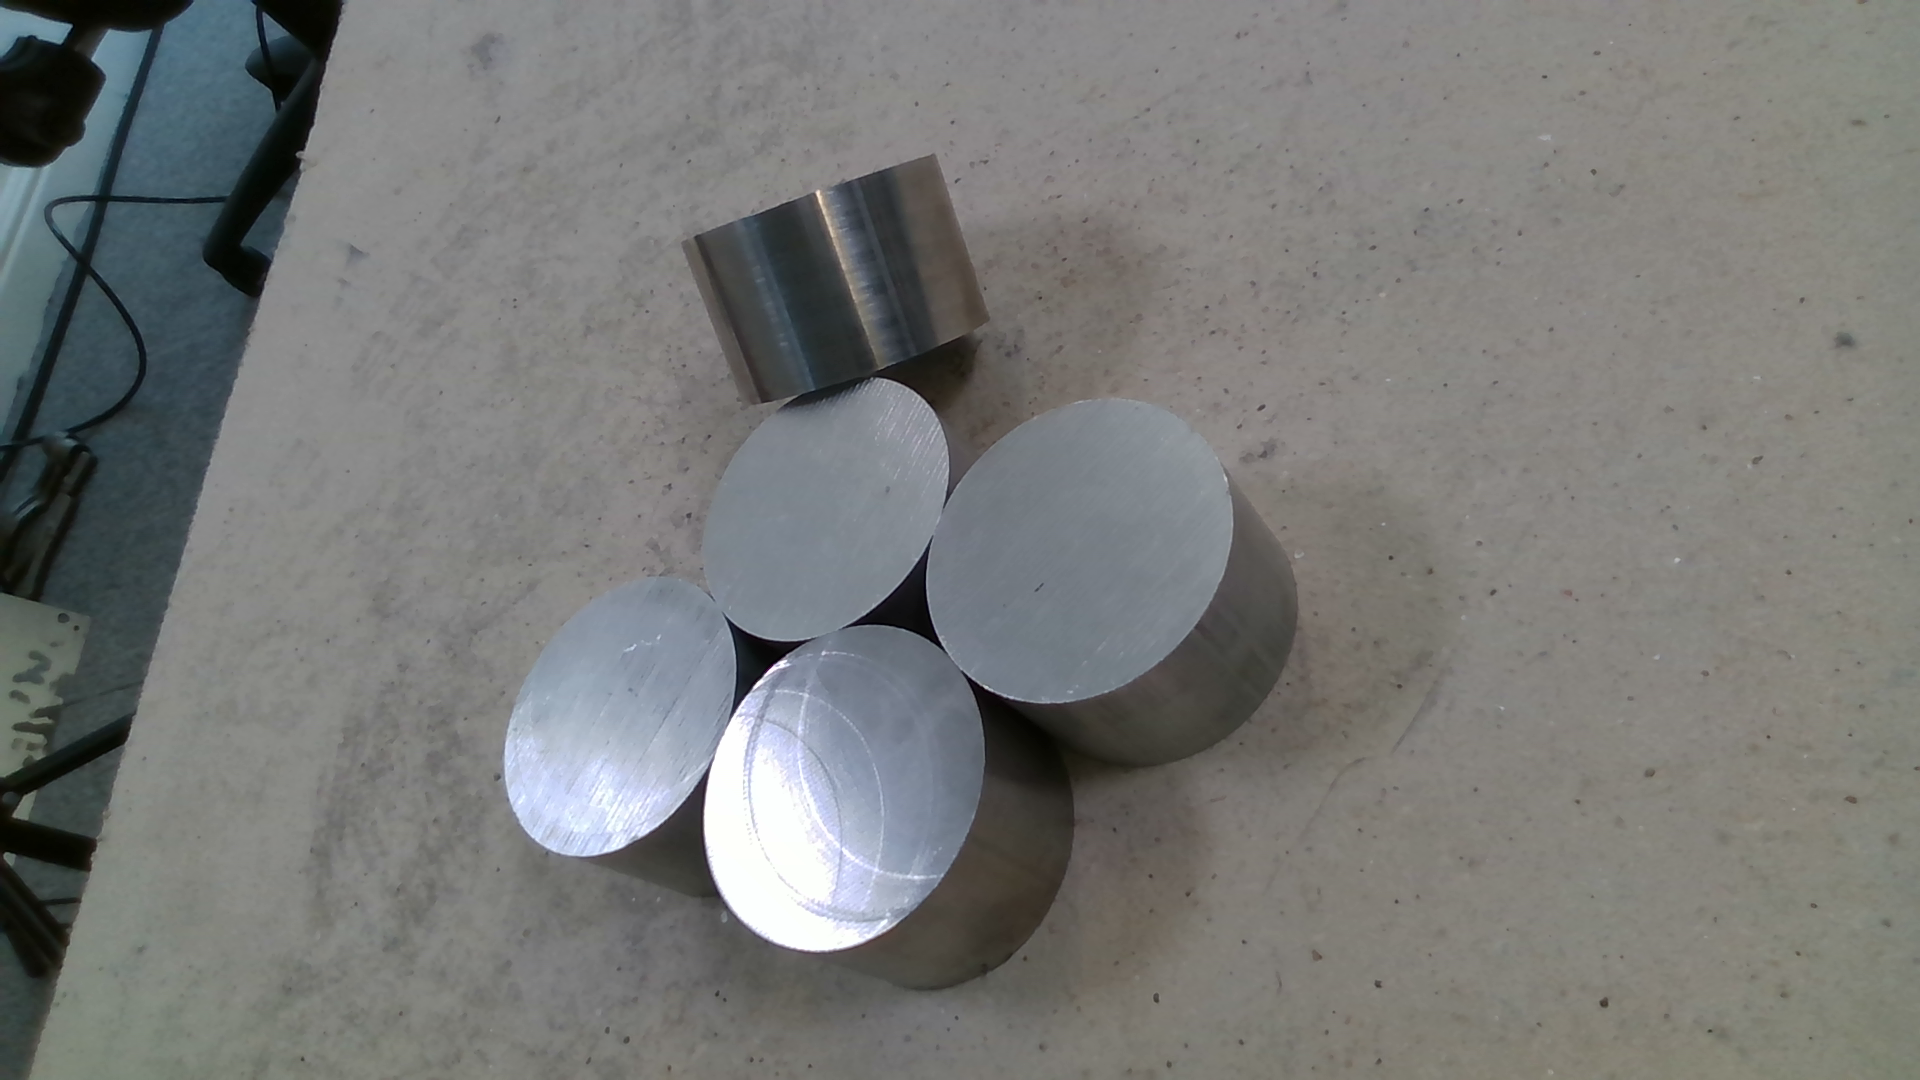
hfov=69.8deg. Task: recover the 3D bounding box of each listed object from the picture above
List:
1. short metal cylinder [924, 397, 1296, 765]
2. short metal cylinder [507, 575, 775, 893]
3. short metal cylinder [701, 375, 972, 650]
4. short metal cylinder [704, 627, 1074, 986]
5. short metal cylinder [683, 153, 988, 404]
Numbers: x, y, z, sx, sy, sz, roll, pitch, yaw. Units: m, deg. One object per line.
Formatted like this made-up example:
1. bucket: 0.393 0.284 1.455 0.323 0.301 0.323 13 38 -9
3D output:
1. short metal cylinder: 0.038 0.011 0.347 0.080 0.050 0.080 -14 59 25
2. short metal cylinder: -0.082 0.057 0.398 0.080 0.050 0.080 -14 59 25
3. short metal cylinder: -0.026 0.000 0.393 0.080 0.050 0.080 -14 59 25
4. short metal cylinder: -0.018 0.069 0.352 0.080 0.050 0.080 -14 59 25
5. short metal cylinder: -0.037 -0.079 0.415 0.080 0.050 0.080 -18 14 5
